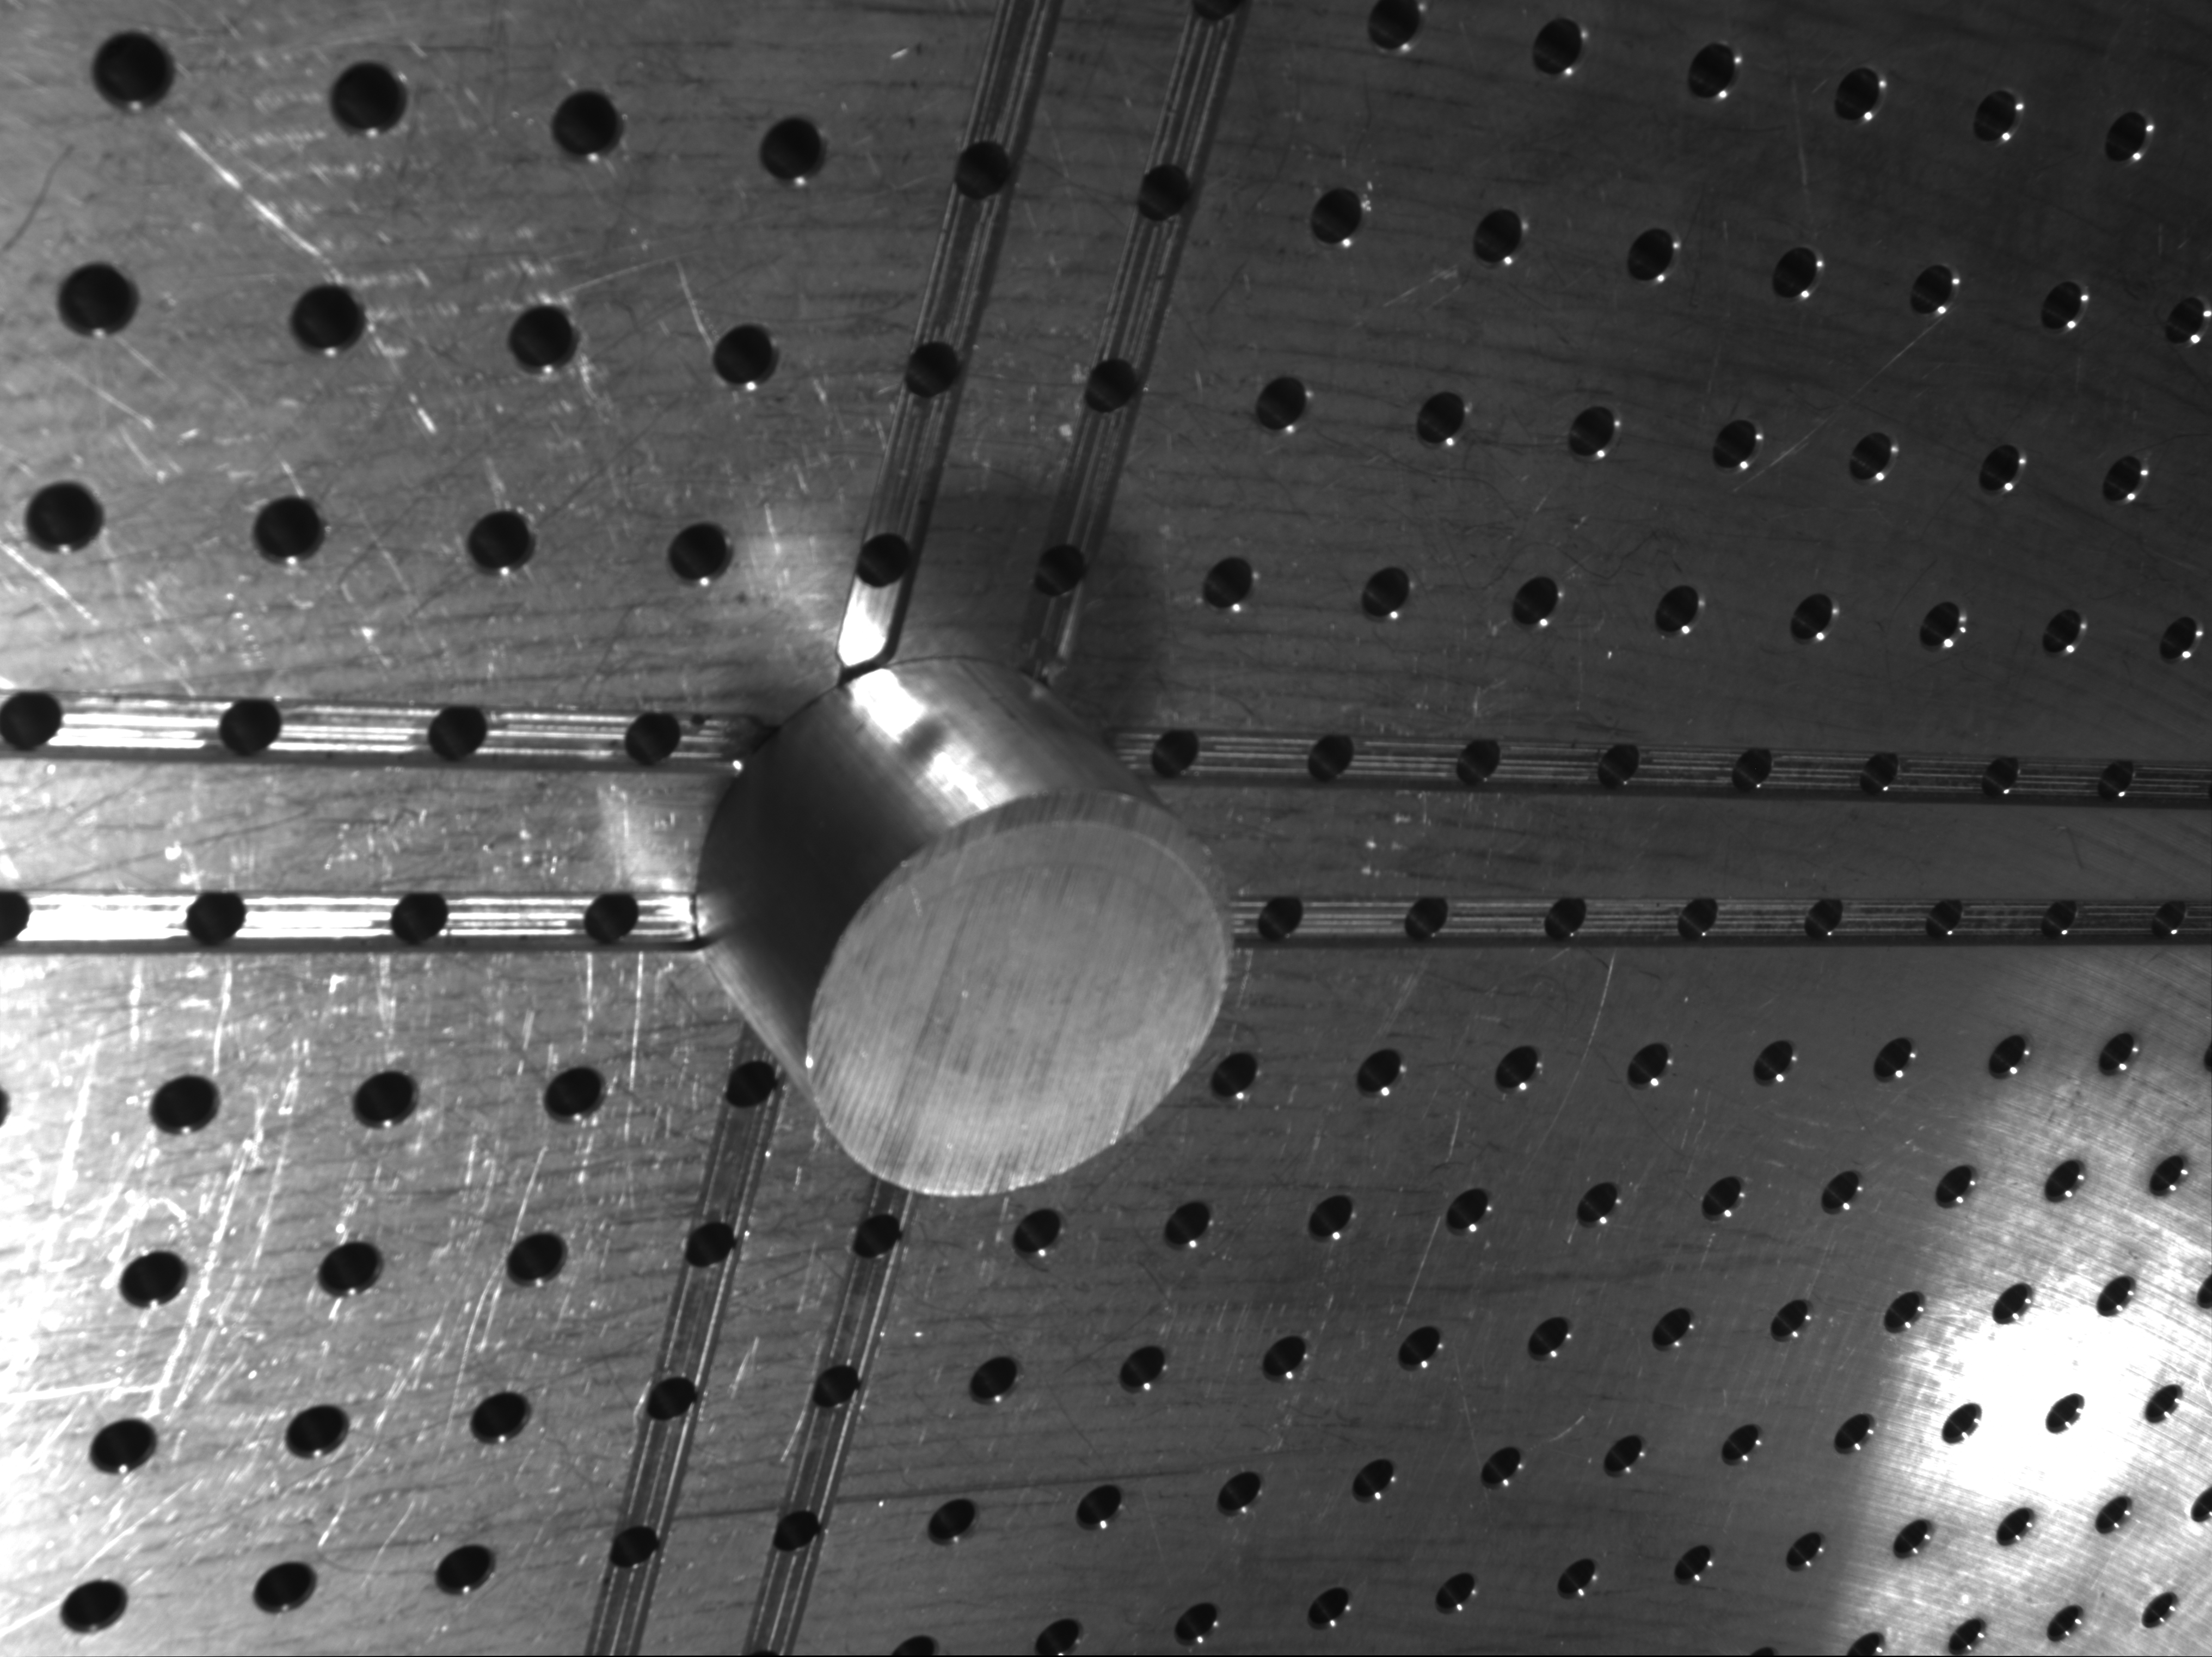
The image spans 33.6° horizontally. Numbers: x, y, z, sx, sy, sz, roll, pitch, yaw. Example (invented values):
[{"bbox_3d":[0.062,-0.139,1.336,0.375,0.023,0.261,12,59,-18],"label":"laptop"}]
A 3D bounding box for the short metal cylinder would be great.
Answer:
[{"bbox_3d":[-0.016,0.018,0.639,0.080,0.050,0.080,-15,125,-22],"label":"short metal cylinder"}]
